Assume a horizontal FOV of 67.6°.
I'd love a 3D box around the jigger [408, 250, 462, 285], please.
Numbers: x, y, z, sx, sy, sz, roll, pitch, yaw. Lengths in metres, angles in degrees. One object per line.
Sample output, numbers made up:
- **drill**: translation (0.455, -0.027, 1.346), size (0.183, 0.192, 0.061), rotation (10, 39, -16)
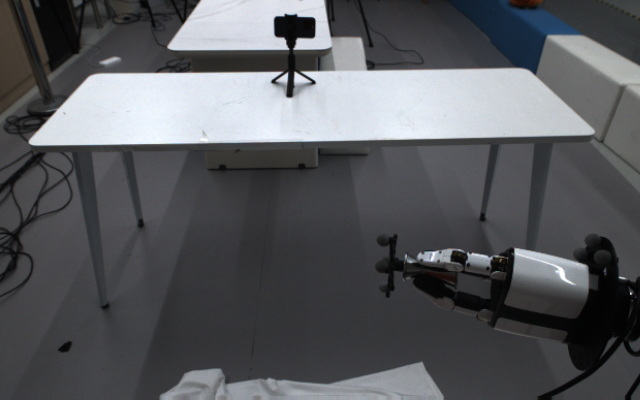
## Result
- **jigger**: translation (0.152, 0.086, 0.633), size (0.071, 0.043, 0.043), rotation (4, 34, 15)
